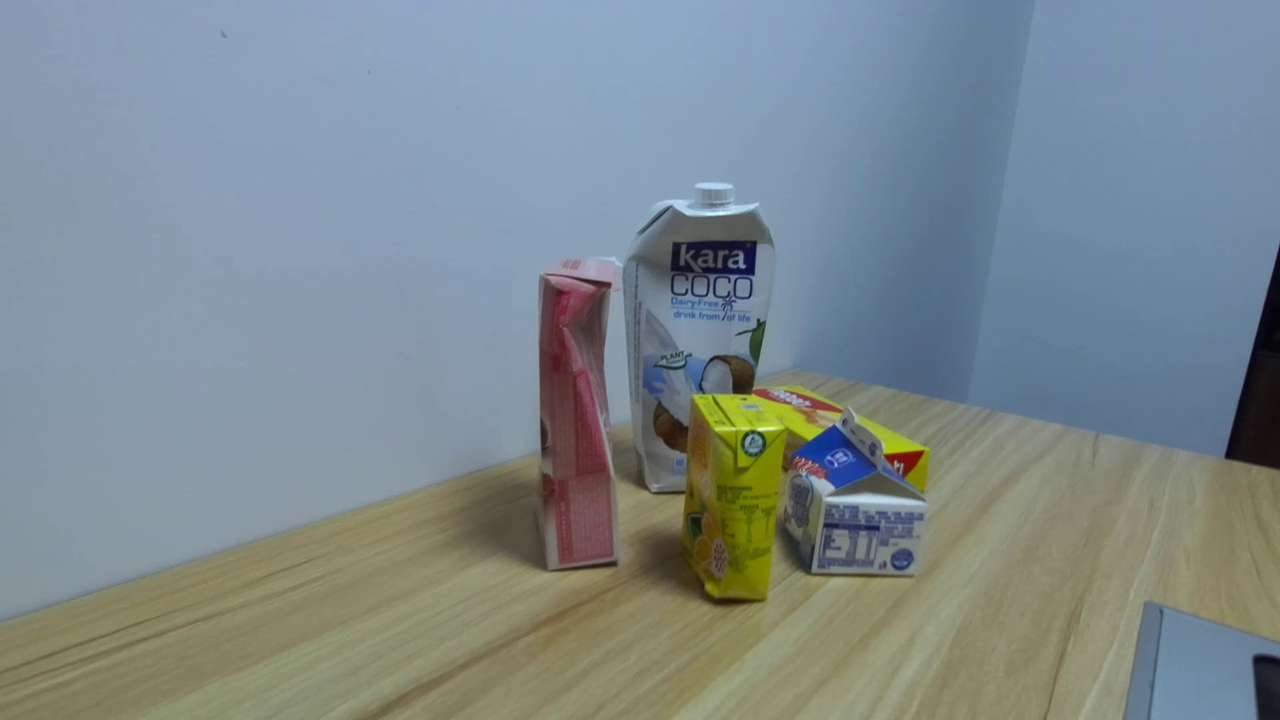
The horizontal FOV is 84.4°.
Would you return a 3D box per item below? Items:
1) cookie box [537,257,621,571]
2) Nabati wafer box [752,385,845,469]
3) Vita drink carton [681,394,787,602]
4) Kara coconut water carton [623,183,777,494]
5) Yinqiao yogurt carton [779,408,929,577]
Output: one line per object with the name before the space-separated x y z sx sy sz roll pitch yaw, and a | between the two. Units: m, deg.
cookie box | -0.036 0.031 0.452 0.055 0.184 0.118 3 14 -4
Nabati wafer box | 0.164 0.070 0.660 0.093 0.042 0.202 -2 15 -21
Vita drink carton | 0.054 0.082 0.421 0.043 0.109 0.076 1 14 -7
Kara coconut water carton | 0.043 -0.016 0.555 0.115 0.238 0.069 1 15 -10
Yinqiao yogurt carton | 0.143 0.085 0.470 0.074 0.092 0.075 3 15 -4
